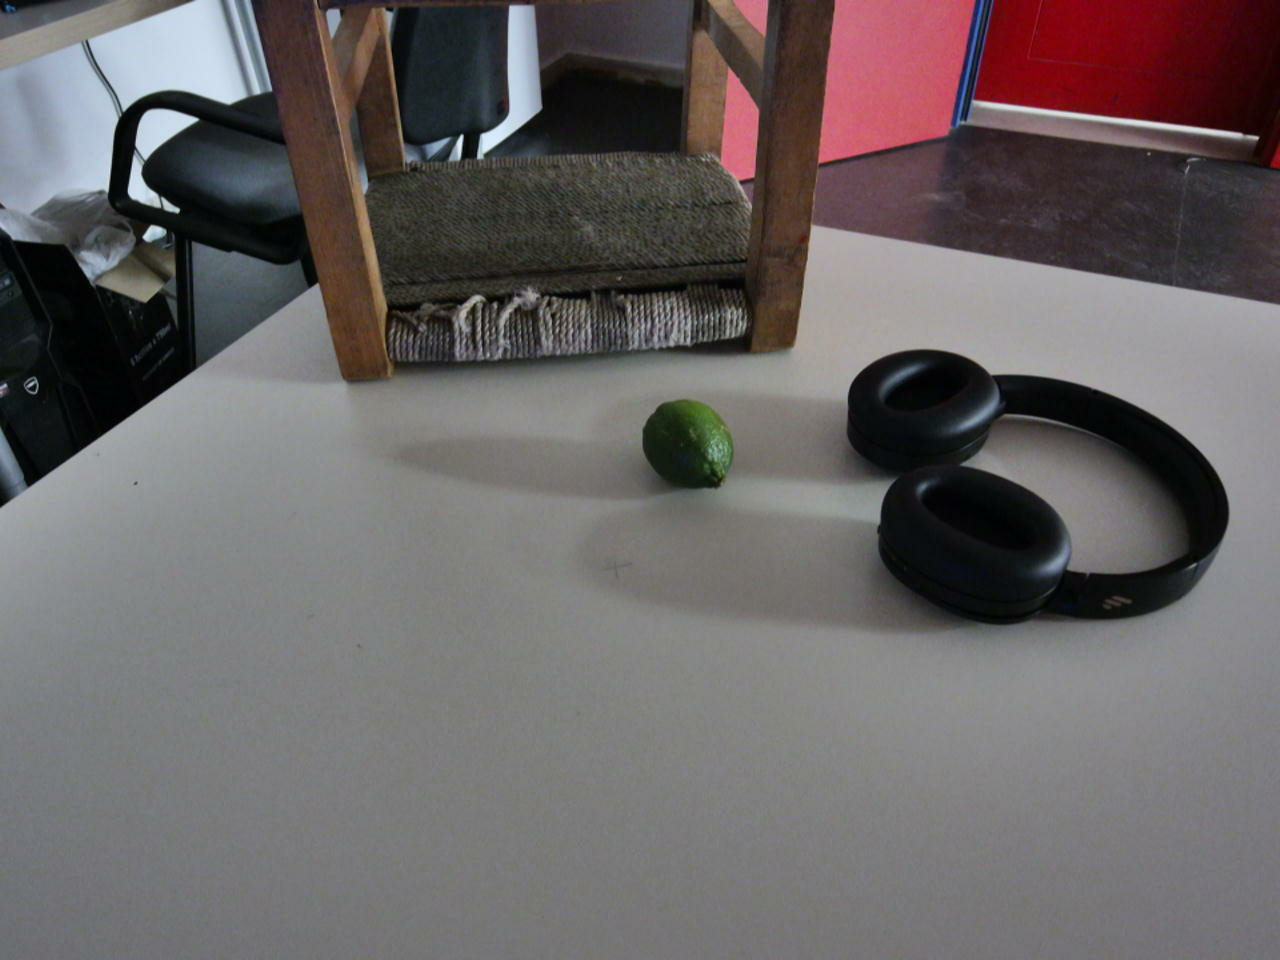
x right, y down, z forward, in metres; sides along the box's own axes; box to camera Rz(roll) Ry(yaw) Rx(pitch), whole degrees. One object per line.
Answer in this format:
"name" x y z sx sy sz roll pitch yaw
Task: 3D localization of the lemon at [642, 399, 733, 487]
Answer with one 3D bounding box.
"lemon" 0.029 -0.023 0.611 0.057 0.051 0.054 14 41 16
